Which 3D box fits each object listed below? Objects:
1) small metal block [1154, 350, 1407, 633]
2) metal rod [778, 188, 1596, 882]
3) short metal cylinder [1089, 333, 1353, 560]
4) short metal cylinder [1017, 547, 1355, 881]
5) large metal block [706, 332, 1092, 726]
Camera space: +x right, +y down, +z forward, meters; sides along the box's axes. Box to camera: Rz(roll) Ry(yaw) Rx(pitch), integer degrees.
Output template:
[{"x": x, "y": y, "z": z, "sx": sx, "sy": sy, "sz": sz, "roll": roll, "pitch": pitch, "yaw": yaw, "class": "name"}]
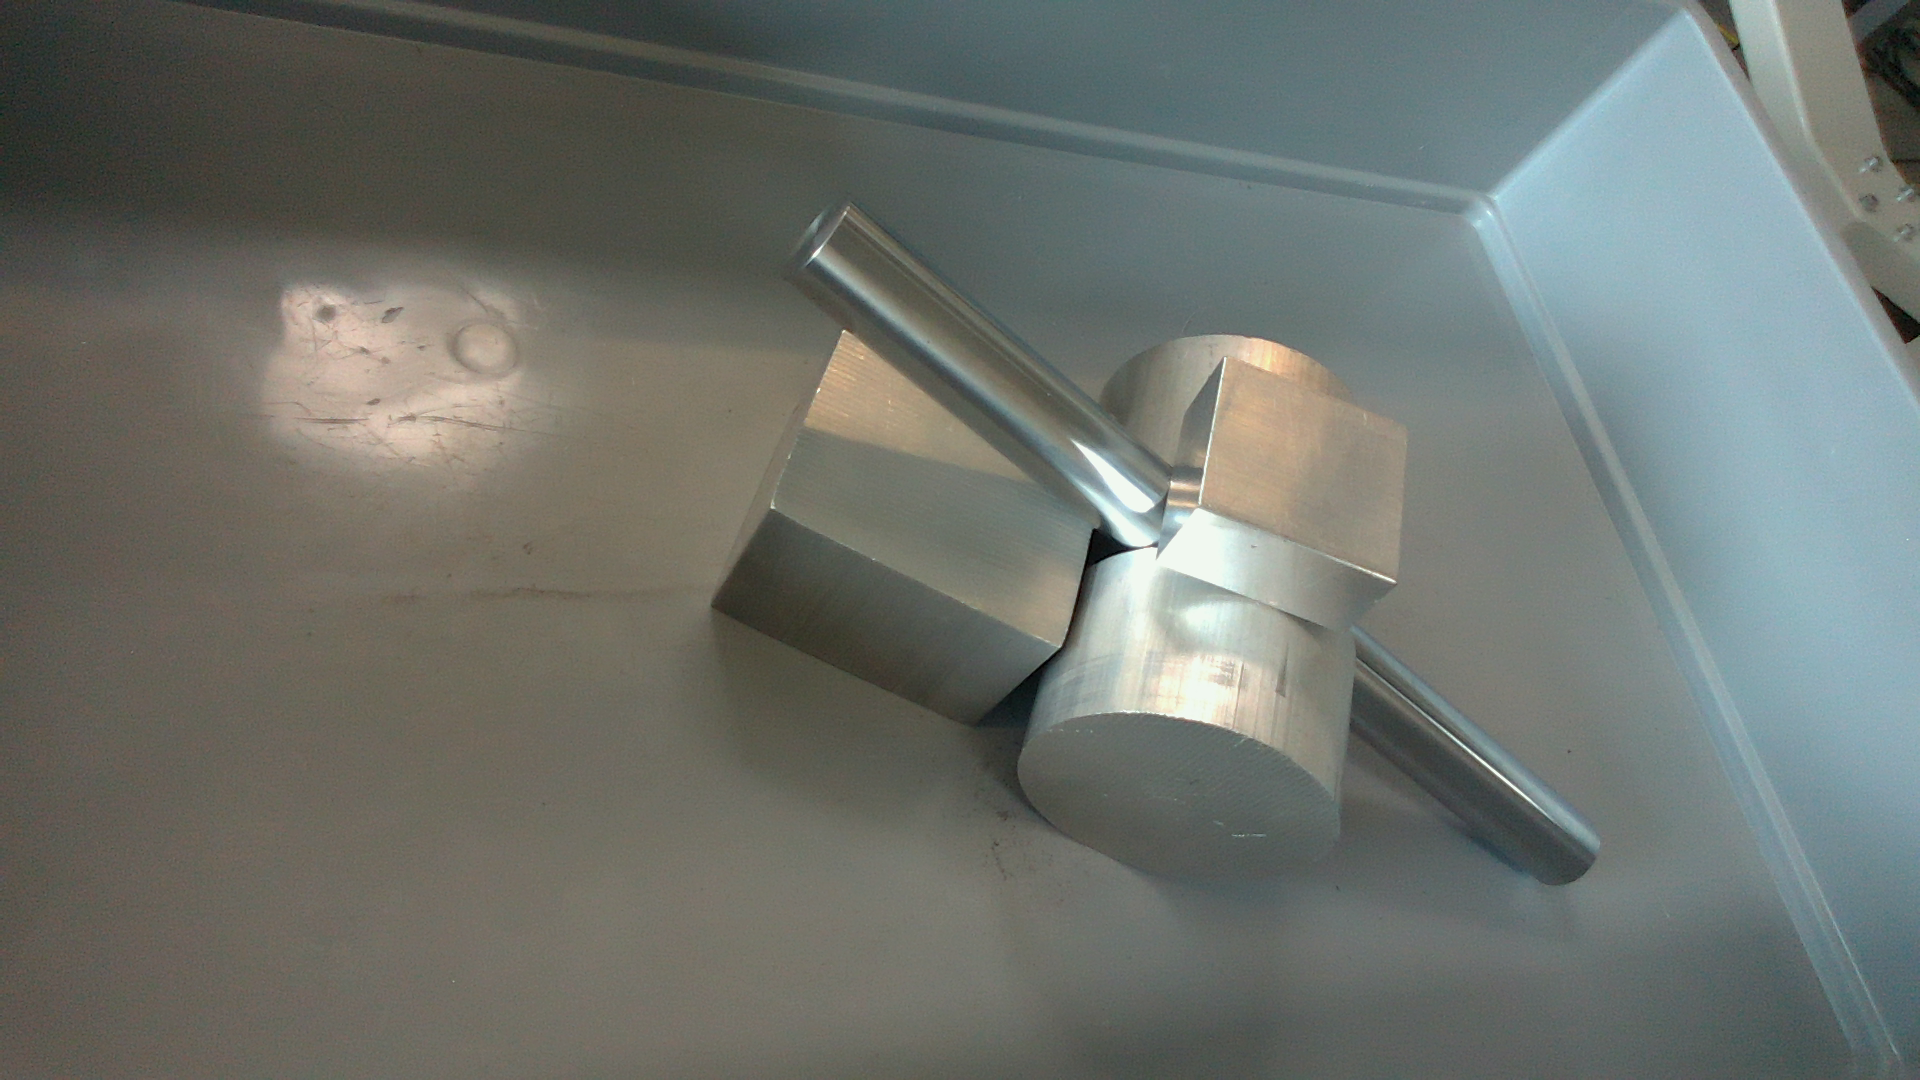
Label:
[{"x": 0.079, "y": -0.012, "z": 0.337, "sx": 0.050, "sy": 0.025, "sz": 0.050, "roll": 21, "pitch": 53, "yaw": -5, "class": "small metal block"}, {"x": 0.077, "y": 0.013, "z": 0.371, "sx": 0.301, "sy": 0.025, "sz": 0.025, "roll": 37, "pitch": 49, "yaw": -23, "class": "metal rod"}, {"x": 0.075, "y": -0.014, "z": 0.402, "sx": 0.080, "sy": 0.080, "sz": 0.050, "roll": 25, "pitch": 53, "yaw": -13, "class": "short metal cylinder"}, {"x": 0.060, "y": 0.046, "z": 0.356, "sx": 0.080, "sy": 0.080, "sz": 0.050, "roll": 27, "pitch": 52, "yaw": -11, "class": "short metal cylinder"}, {"x": -0.011, "y": -0.009, "z": 0.369, "sx": 0.080, "sy": 0.050, "sz": 0.080, "roll": 26, "pitch": 52, "yaw": -12, "class": "large metal block"}]
